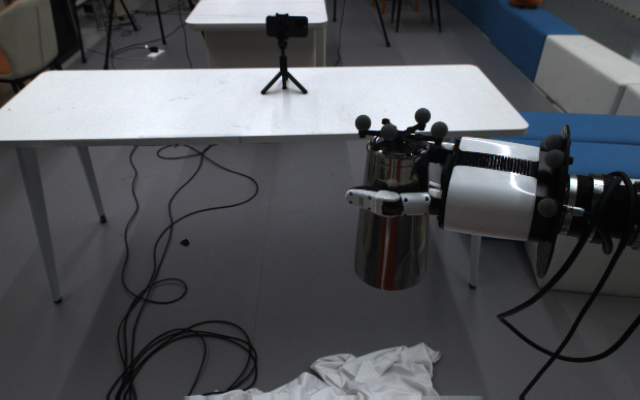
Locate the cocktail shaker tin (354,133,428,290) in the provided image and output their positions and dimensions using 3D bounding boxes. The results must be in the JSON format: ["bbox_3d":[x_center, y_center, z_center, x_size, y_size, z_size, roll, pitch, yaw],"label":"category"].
[{"bbox_3d":[0.091,0.007,0.567,0.093,0.170,0.093,-1,32,1],"label":"cocktail shaker tin"}]
